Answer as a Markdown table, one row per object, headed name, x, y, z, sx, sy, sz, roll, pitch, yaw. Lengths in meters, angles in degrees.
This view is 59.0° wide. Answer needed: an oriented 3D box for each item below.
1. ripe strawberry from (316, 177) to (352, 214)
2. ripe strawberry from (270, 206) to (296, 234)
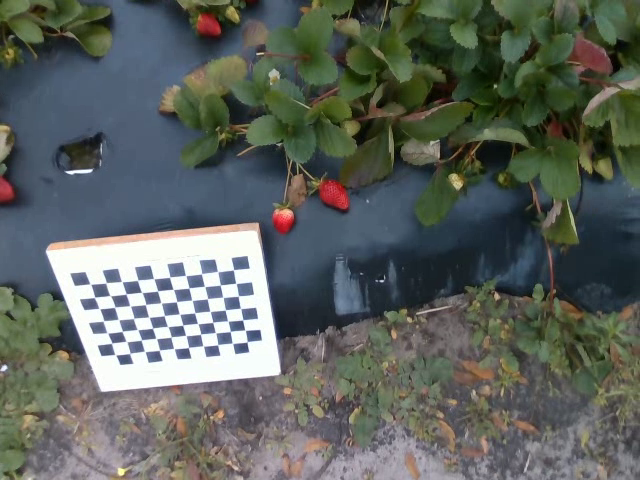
| name | x | y | z | sx | sy | sz | roll | pitch | yaw |
| --- | --- | --- | --- | --- | --- | --- | --- | --- | --- |
| ripe strawberry | 0.019 | -0.062 | 0.785 | 0.044 | 0.059 | 0.041 | -45 | 0 | 33 |
| ripe strawberry | -0.053 | -0.027 | 0.789 | 0.036 | 0.041 | 0.028 | -1 | 13 | 10 |
